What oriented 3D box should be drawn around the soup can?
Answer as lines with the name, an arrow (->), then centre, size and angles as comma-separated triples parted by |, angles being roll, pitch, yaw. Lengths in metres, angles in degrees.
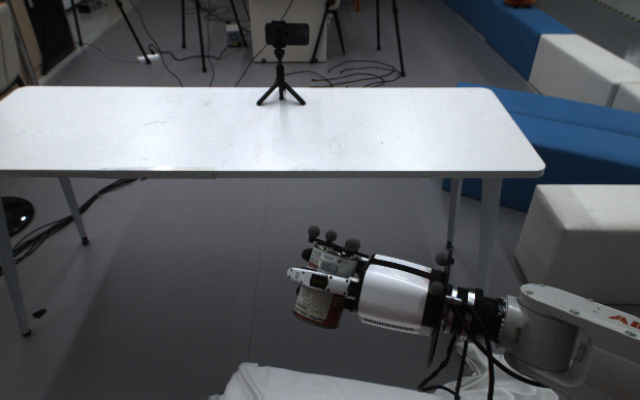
soup can -> 0.010, 0.119, 0.673 | 0.067, 0.101, 0.067 | 17, -1, 0
